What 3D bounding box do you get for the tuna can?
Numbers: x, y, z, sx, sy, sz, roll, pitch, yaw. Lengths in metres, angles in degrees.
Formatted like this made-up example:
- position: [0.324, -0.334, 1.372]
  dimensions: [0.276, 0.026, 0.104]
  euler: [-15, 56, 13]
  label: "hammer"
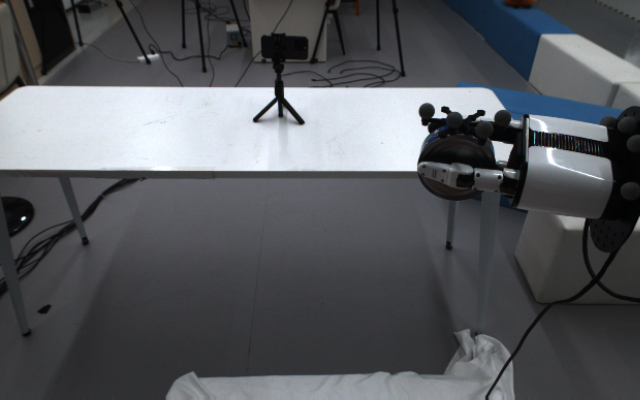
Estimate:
- position: [0.159, -0.047, 0.558]
  dimensions: [0.085, 0.085, 0.034]
  euler: [10, 34, 11]
  label: "tuna can"
